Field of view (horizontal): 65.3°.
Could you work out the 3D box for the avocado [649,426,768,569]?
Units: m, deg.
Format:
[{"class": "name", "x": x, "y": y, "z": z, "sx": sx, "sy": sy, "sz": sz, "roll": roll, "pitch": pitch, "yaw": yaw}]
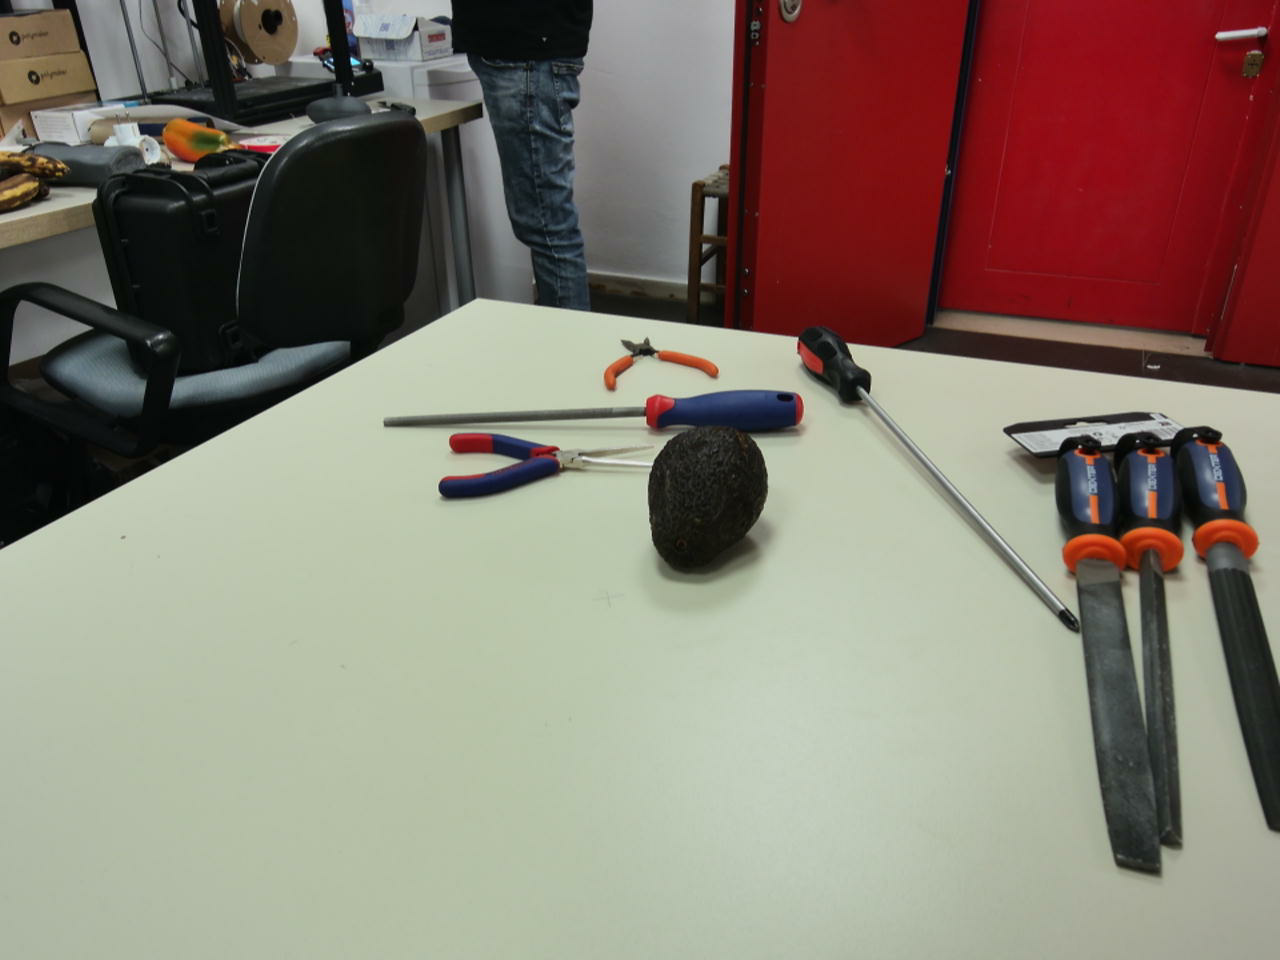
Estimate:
[{"class": "avocado", "x": 0.036, "y": 0.005, "z": 0.587, "sx": 0.090, "sy": 0.069, "sz": 0.070, "roll": -21, "pitch": 32, "yaw": -36}]
